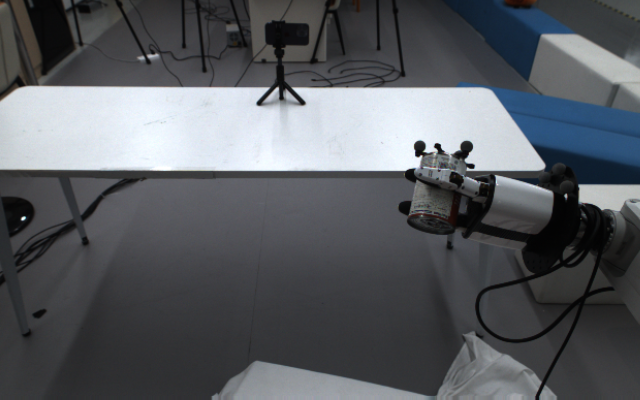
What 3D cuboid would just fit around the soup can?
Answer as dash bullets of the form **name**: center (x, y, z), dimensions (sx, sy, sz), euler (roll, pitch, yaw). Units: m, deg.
- **soup can**: center (0.170, -0.009, 0.693), dimensions (0.067, 0.067, 0.101), euler (11, 72, 13)
